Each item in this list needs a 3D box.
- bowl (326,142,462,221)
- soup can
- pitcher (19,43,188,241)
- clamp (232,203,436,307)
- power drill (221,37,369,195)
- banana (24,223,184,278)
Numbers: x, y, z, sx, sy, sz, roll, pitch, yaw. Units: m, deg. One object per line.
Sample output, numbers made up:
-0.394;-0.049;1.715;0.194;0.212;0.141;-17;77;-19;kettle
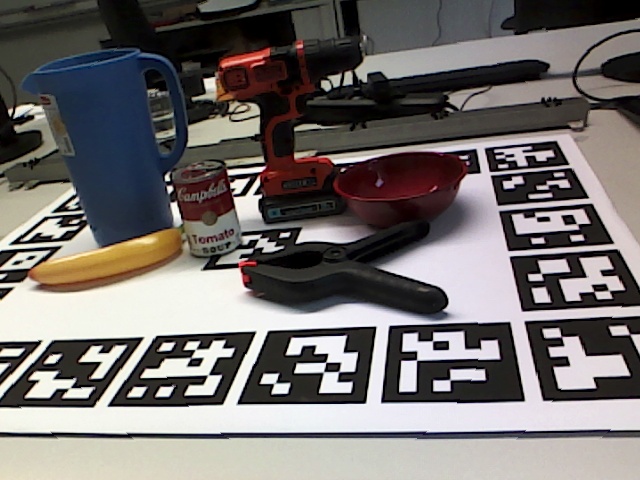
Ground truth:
0.091;-0.064;0.750;0.162;0.055;0.162;-10;28;5;bowl
-0.139;-0.046;0.757;0.068;0.102;0.068;-9;18;3;soup can
-0.260;-0.128;0.806;0.188;0.242;0.134;-16;24;-9;pitcher
0.010;0.018;0.628;0.203;0.036;0.165;-6;31;10;clamp
-0.021;-0.157;0.788;0.185;0.186;0.057;-6;27;8;power drill
-0.262;0.016;0.756;0.197;0.039;0.074;-15;19;-11;banana
